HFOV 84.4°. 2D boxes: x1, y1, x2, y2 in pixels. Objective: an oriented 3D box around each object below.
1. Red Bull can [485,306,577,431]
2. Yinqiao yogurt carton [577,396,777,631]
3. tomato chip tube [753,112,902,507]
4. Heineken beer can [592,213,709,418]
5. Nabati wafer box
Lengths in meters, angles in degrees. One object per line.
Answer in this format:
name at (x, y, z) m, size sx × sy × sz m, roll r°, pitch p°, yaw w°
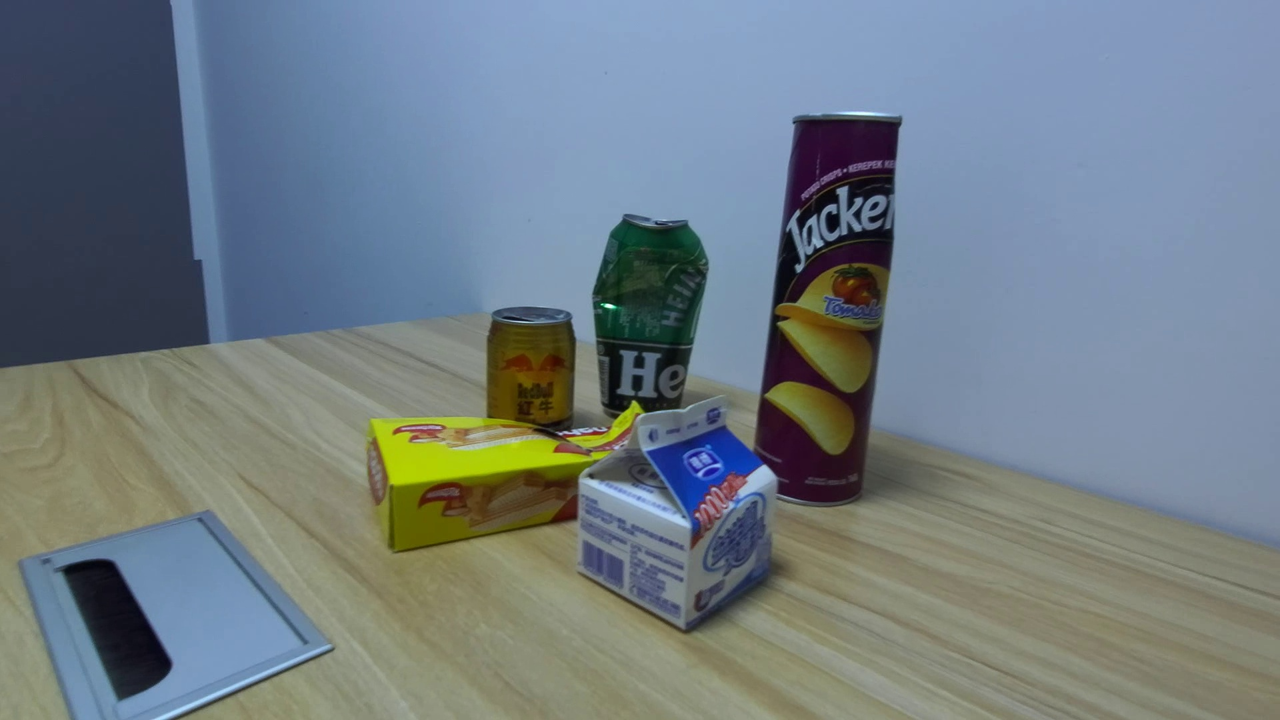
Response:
Red Bull can at (-0.083, 0.012, 0.534) m, size 0.067 × 0.093 × 0.067 m, roll 3°, pitch 14°, yaw 0°
Yinqiao yogurt carton at (0.020, 0.064, 0.348) m, size 0.073 × 0.092 × 0.076 m, roll 15°, pitch 18°, yaw 39°
tomato chip tube at (0.119, -0.031, 0.447) m, size 0.076 × 0.235 × 0.078 m, roll 11°, pitch 17°, yaw 25°
Heineken beer can at (0.004, -0.034, 0.574) m, size 0.066 × 0.164 × 0.077 m, roll -11°, pitch 23°, yaw -42°
Nabati wafer box at (-0.059, 0.062, 0.447) m, size 0.205 × 0.042 × 0.106 m, roll -4°, pitch 17°, yaw -27°
